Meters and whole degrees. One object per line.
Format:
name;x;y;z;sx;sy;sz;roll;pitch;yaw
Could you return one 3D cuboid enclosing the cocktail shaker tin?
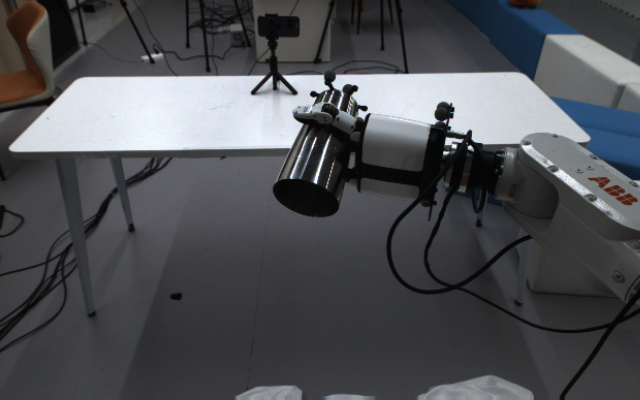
cocktail shaker tin;0.004;-0.072;0.677;0.093;0.093;0.170;10;60;12
